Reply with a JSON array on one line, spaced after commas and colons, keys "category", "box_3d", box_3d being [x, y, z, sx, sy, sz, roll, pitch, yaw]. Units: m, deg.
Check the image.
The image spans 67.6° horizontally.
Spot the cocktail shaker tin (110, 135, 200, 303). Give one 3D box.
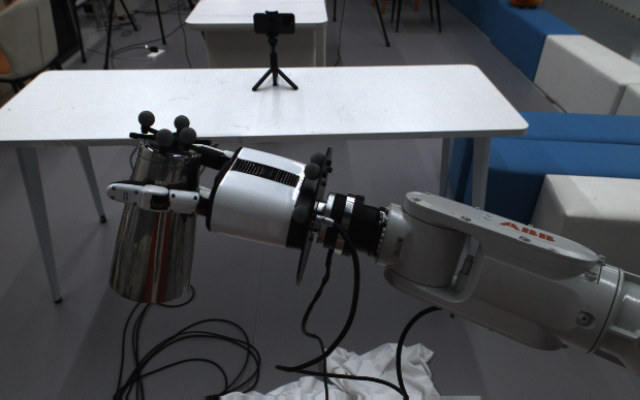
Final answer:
[{"category": "cocktail shaker tin", "box_3d": [-0.181, 0.021, 0.552, 0.093, 0.170, 0.093, 13, 18, -5]}]
